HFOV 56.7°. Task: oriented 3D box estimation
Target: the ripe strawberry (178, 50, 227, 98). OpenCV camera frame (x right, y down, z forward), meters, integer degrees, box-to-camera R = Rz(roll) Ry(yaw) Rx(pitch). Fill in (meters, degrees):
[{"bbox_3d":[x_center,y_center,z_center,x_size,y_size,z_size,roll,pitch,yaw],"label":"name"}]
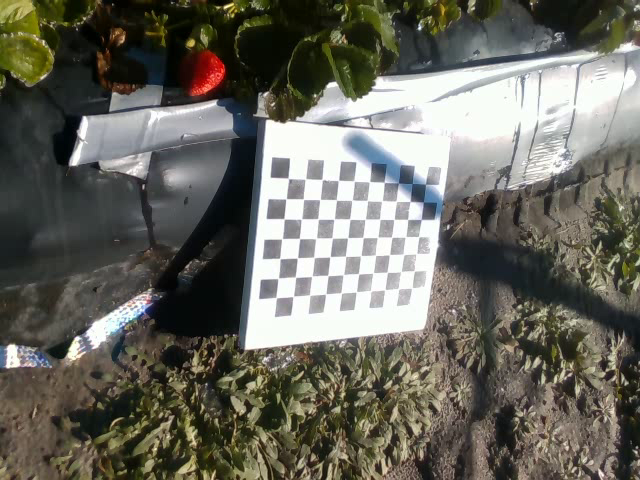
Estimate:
[{"bbox_3d":[-0.130,-0.177,0.622,0.057,0.065,0.061,-28,-47,28],"label":"ripe strawberry"}]
